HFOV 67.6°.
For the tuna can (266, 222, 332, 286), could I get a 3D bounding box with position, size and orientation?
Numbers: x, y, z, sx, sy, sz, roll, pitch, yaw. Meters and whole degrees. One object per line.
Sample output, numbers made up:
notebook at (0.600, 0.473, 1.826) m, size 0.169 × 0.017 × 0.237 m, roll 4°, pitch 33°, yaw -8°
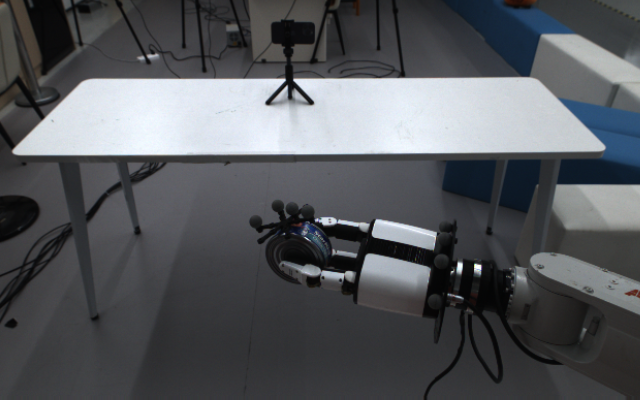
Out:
tuna can at (-0.025, 0.077, 0.646) m, size 0.085 × 0.085 × 0.034 m, roll 11°, pitch 34°, yaw 13°
